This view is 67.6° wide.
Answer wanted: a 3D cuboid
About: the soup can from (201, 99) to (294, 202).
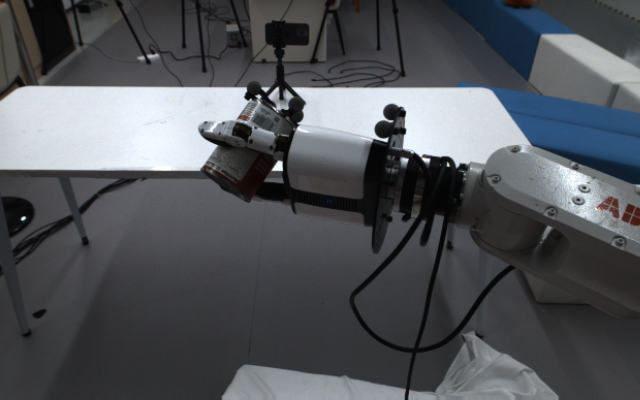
[{"bbox_3d":[-0.080,-0.057,0.561,0.067,0.067,0.101,27,78,31],"label":"soup can"}]
